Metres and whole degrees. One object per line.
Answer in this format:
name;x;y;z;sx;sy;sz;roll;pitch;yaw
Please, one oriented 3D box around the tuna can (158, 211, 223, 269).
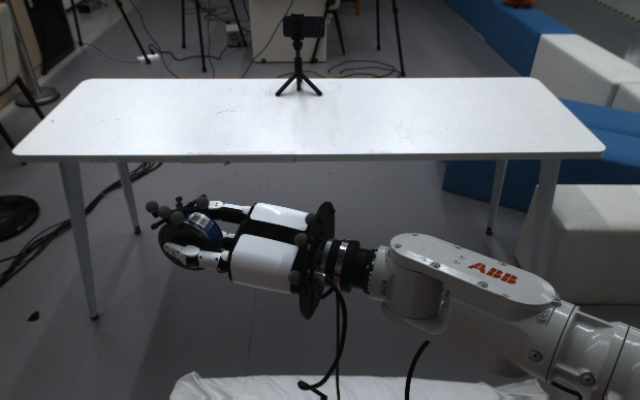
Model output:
tuna can;-0.175;0.058;0.683;0.085;0.085;0.034;9;33;10
